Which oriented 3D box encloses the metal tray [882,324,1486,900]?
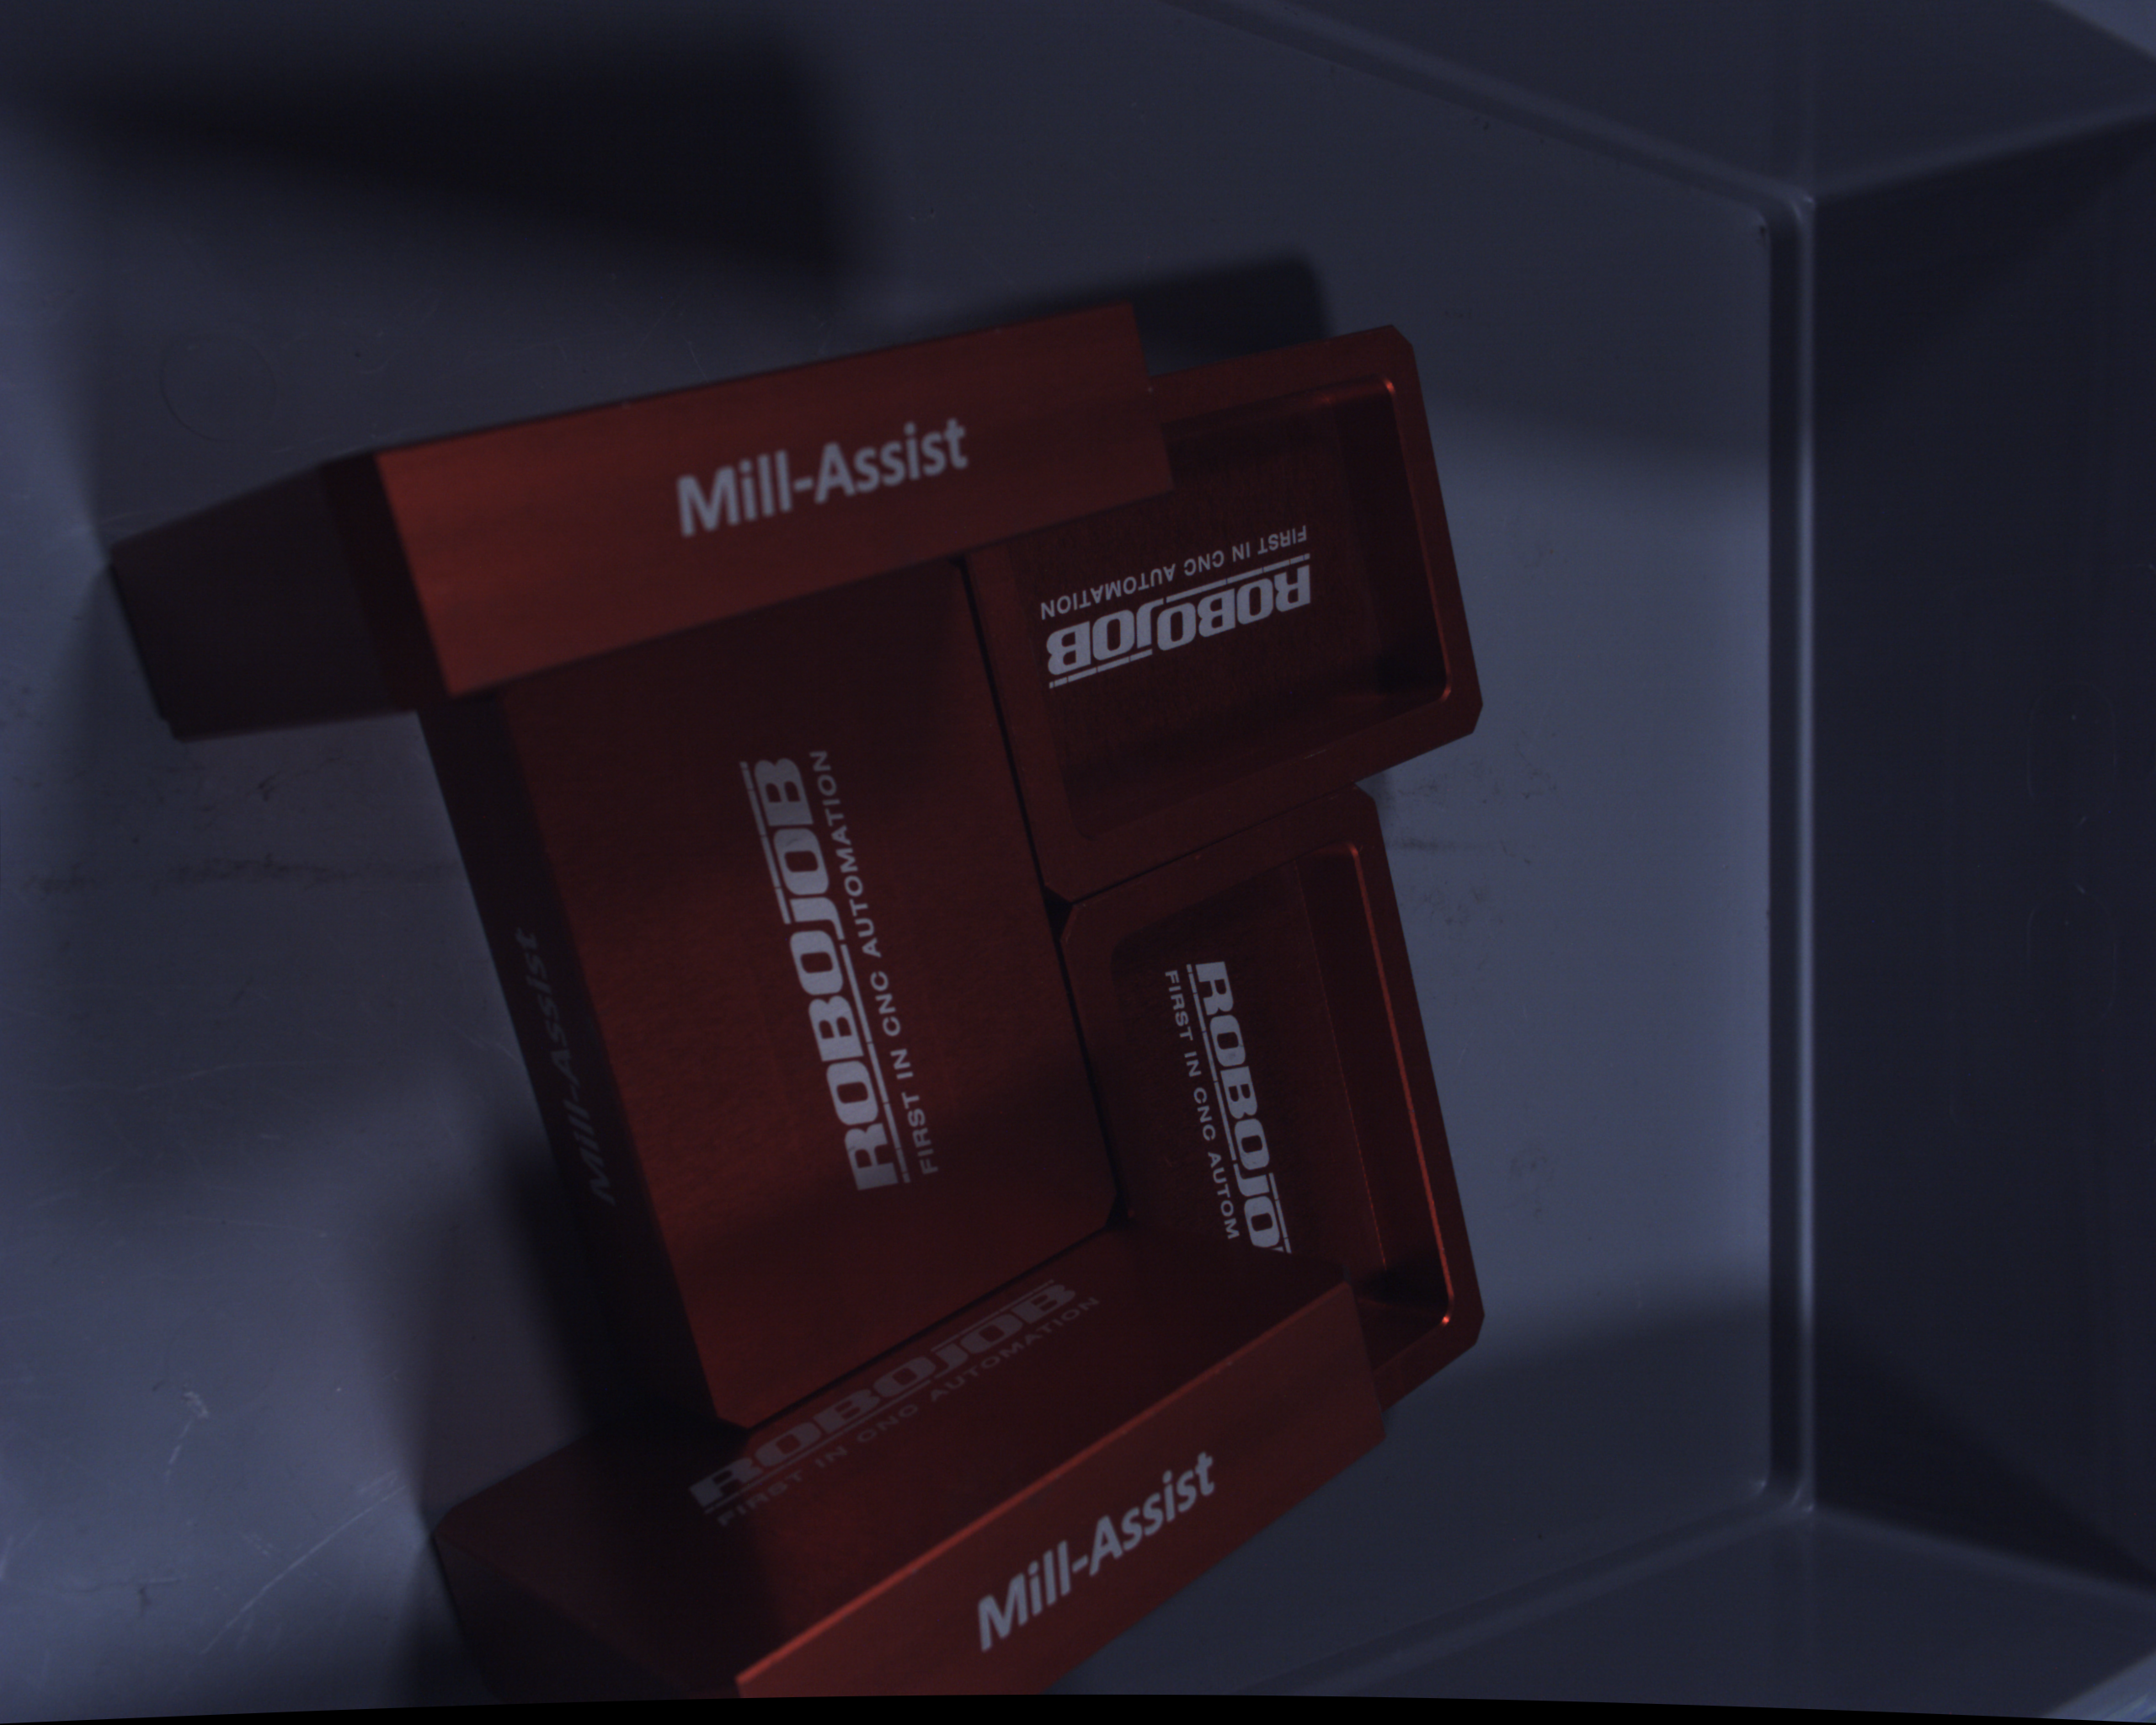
[{"bbox_3d":[0.024,-0.054,0.423,0.131,0.030,0.089,-22,104,-38],"label":"metal tray"}]

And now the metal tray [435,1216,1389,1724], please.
[{"bbox_3d":[-0.025,0.101,0.342,0.131,0.090,0.030,-22,105,-38],"label":"metal tray"}]

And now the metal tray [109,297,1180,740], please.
[{"bbox_3d":[-0.061,-0.052,0.310,0.131,0.090,0.030,-23,105,-38],"label":"metal tray"}]

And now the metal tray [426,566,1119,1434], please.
[{"bbox_3d":[-0.048,0.019,0.361,0.091,0.030,0.129,-22,104,-38],"label":"metal tray"}]

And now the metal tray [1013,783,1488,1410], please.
[{"bbox_3d":[0.035,0.057,0.433,0.091,0.030,0.129,-22,104,-38],"label":"metal tray"}]
